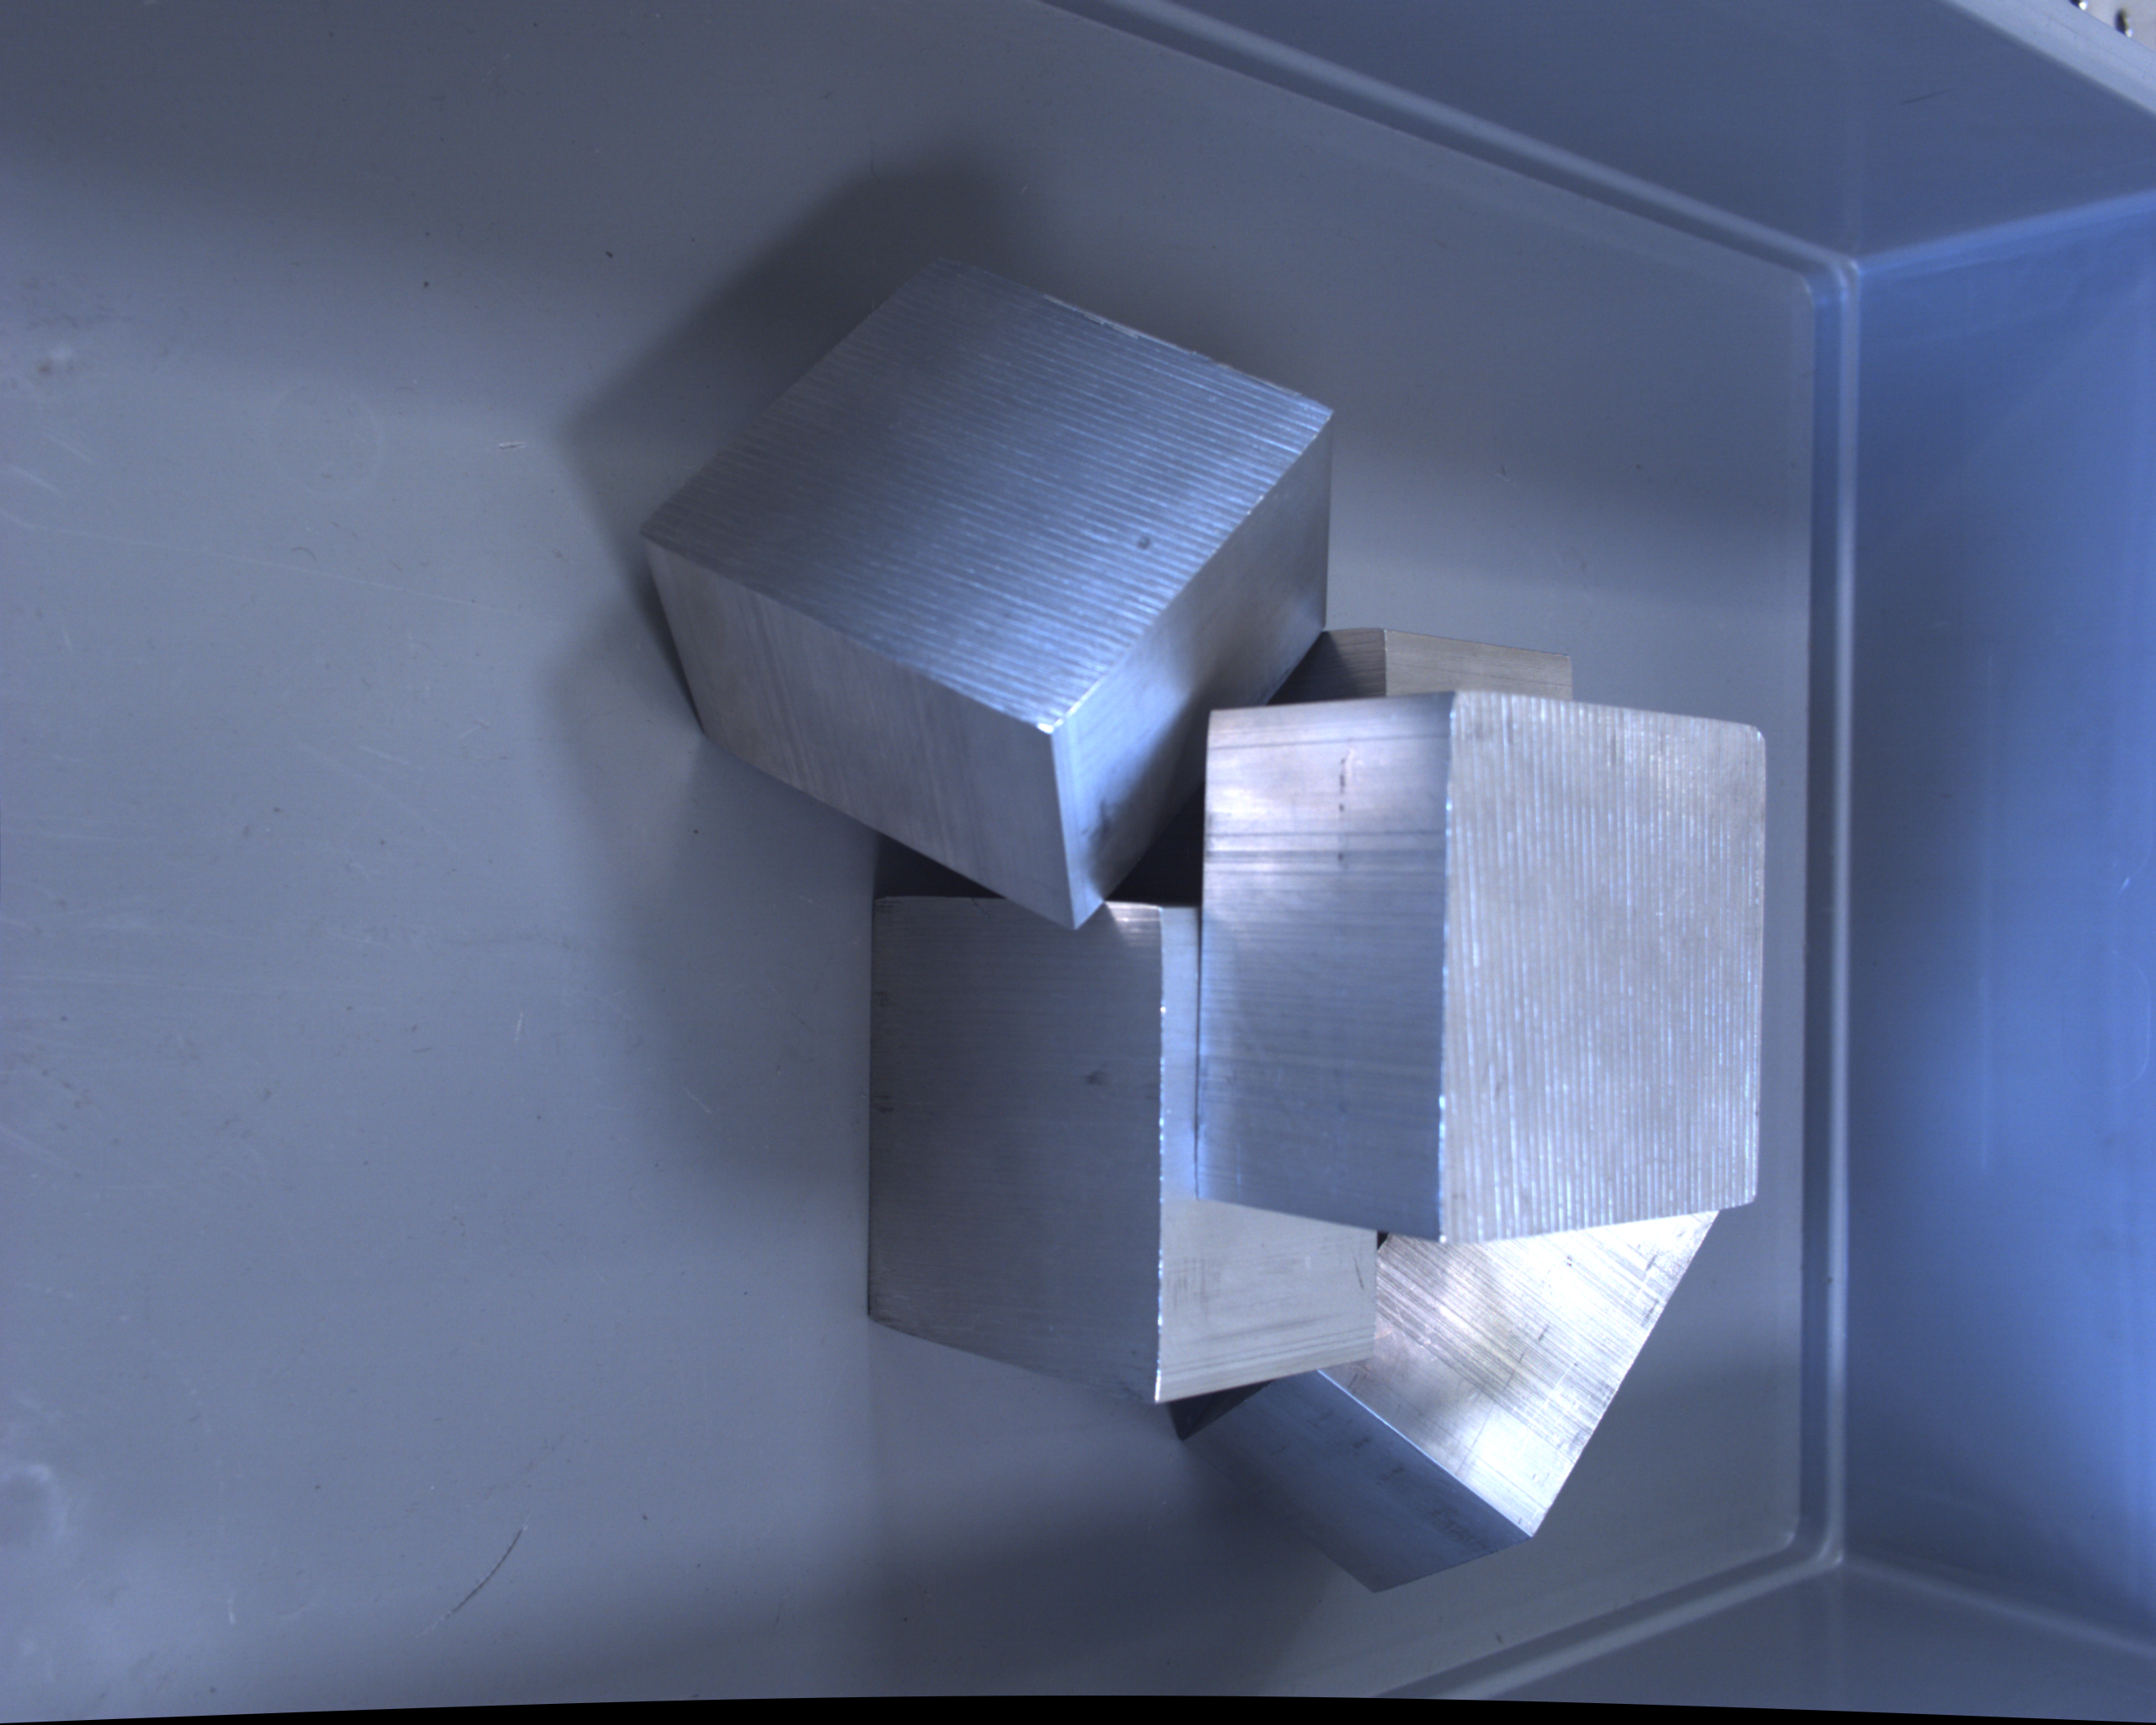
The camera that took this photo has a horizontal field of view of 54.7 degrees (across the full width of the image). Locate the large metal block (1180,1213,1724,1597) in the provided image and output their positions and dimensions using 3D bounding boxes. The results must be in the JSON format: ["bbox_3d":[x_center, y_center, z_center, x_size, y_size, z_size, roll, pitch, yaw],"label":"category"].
[{"bbox_3d":[0.074,0.094,0.421,0.050,0.080,0.080,38,61,5],"label":"large metal block"}]

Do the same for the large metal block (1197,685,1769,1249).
[{"bbox_3d":[0.067,0.016,0.340,0.081,0.050,0.080,2,89,-40],"label":"large metal block"}]

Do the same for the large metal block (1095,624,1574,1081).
[{"bbox_3d":[0.048,-0.001,0.407,0.050,0.080,0.080,1,89,-40],"label":"large metal block"}]

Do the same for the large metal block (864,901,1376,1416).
[{"bbox_3d":[0.006,0.047,0.374,0.050,0.080,0.080,1,89,-40],"label":"large metal block"}]

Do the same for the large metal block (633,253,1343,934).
[{"bbox_3d":[-0.012,-0.047,0.349,0.080,0.080,0.050,-51,155,-28],"label":"large metal block"}]
